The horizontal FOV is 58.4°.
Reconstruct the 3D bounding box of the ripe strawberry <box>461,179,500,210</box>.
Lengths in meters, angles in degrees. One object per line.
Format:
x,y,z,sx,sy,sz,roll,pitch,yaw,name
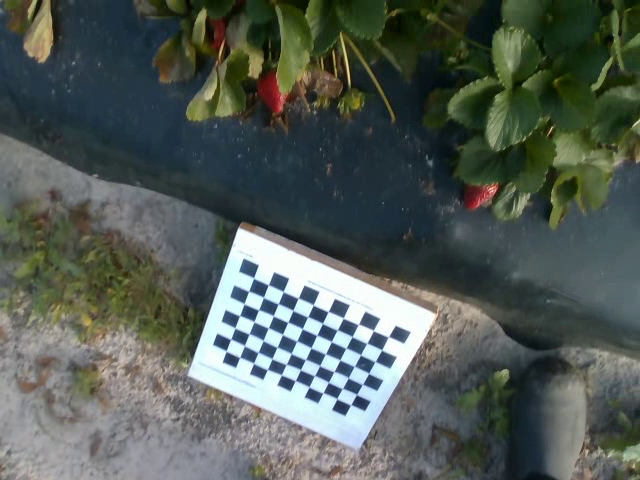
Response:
0.123,-0.037,0.441,0.029,0.036,0.021,26,17,3,ripe strawberry

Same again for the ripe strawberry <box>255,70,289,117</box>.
-0.036,-0.111,0.430,0.031,0.030,0.025,-12,0,14,ripe strawberry
